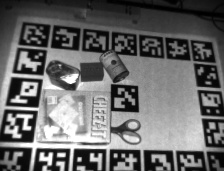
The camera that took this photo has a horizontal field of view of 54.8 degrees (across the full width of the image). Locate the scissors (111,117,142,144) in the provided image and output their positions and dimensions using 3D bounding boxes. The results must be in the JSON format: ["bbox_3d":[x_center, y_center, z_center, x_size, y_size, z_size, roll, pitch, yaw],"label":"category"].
[{"bbox_3d":[-0.003,0.150,0.710,0.204,0.016,0.087,-1,72,-10],"label":"scissors"}]

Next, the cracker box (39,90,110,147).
[{"bbox_3d":[-0.112,0.100,0.675,0.214,0.072,0.163,-2,70,-6],"label":"cracker box"}]

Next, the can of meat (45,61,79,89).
[{"bbox_3d":[-0.163,-0.033,0.721,0.102,0.083,0.058,17,70,-3],"label":"can of meat"}]

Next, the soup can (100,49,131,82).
[{"bbox_3d":[0.012,-0.072,0.783,0.068,0.068,0.101,-34,74,-18],"label":"soup can"}]

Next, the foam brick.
[{"bbox_3d":[-0.070,-0.051,0.763,0.078,0.051,0.052,-7,73,-11],"label":"foam brick"}]
